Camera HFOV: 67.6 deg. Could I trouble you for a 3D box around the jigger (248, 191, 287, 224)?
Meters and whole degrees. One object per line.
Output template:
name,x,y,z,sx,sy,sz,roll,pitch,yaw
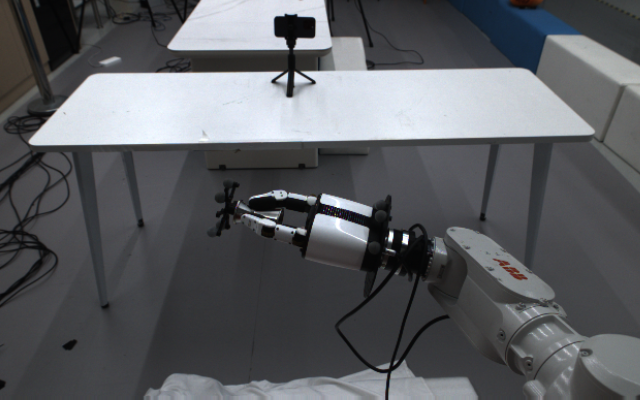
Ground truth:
jigger,-0.087,0.023,0.738,0.071,0.043,0.043,14,36,4
